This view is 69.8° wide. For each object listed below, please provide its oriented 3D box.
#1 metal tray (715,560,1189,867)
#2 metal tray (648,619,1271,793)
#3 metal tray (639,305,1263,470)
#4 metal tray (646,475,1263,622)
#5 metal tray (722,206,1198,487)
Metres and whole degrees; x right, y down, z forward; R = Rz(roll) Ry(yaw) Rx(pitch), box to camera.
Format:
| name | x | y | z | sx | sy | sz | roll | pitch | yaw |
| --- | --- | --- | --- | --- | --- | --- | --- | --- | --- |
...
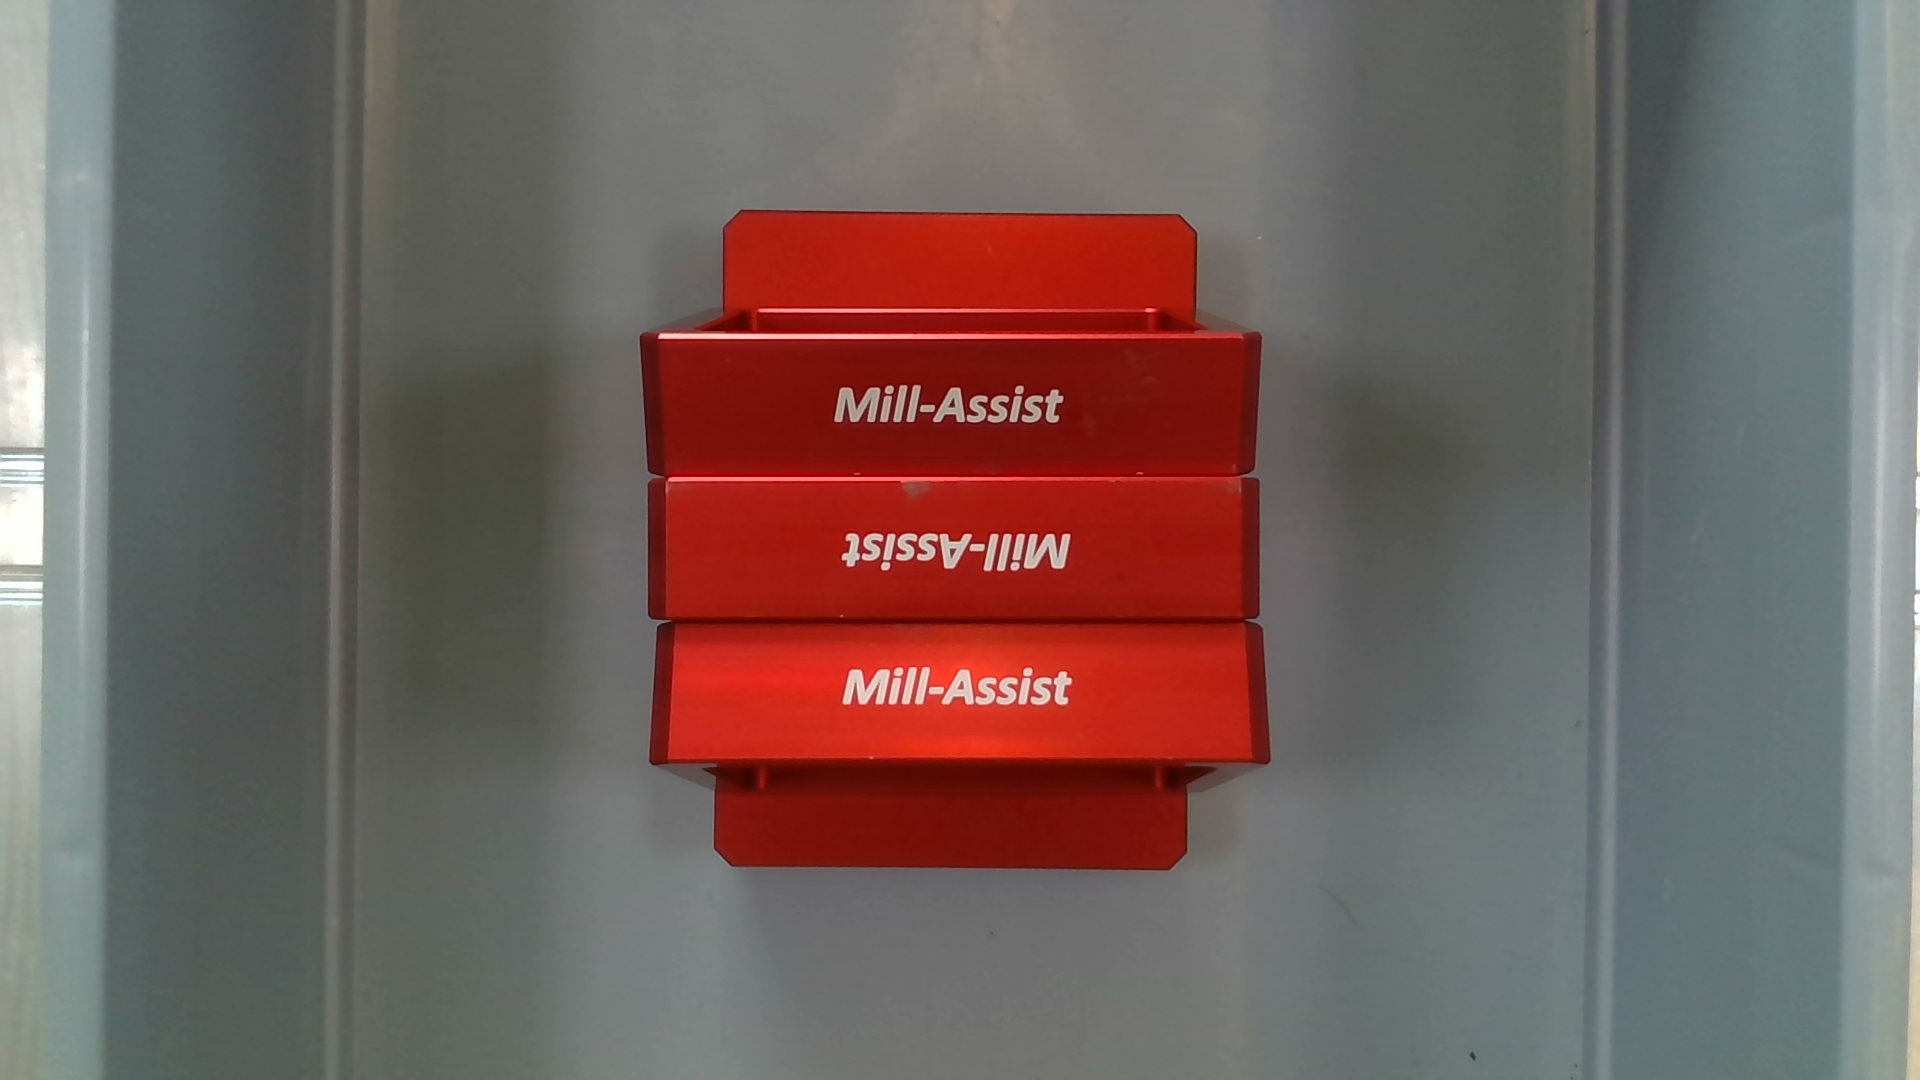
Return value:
| name | x | y | z | sx | sy | sz | roll | pitch | yaw |
| --- | --- | --- | --- | --- | --- | --- | --- | --- | --- |
| metal tray | -0.002 | 0.045 | 0.392 | 0.130 | 0.030 | 0.090 | 0 | 90 | 0 |
| metal tray | 0.000 | 0.042 | 0.329 | 0.130 | 0.090 | 0.030 | 0 | 76 | 0 |
| metal tray | -0.002 | -0.039 | 0.329 | 0.130 | 0.090 | 0.030 | 0 | 103 | 0 |
| metal tray | -0.002 | 0.002 | 0.330 | 0.130 | 0.090 | 0.030 | 0 | 90 | -2 |
| metal tray | 0.000 | -0.046 | 0.391 | 0.130 | 0.030 | 0.090 | 0 | 90 | 0 |
